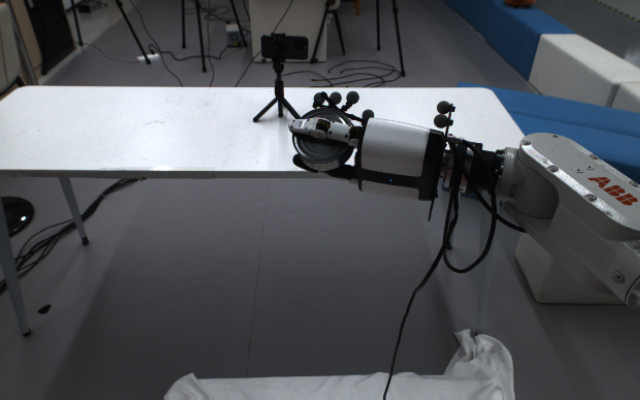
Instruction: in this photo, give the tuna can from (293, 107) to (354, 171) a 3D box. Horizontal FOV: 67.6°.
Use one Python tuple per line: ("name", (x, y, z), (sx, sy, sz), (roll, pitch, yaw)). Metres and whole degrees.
("tuna can", (0.006, -0.087, 0.684), (0.085, 0.034, 0.085), (-4, 67, 10))
